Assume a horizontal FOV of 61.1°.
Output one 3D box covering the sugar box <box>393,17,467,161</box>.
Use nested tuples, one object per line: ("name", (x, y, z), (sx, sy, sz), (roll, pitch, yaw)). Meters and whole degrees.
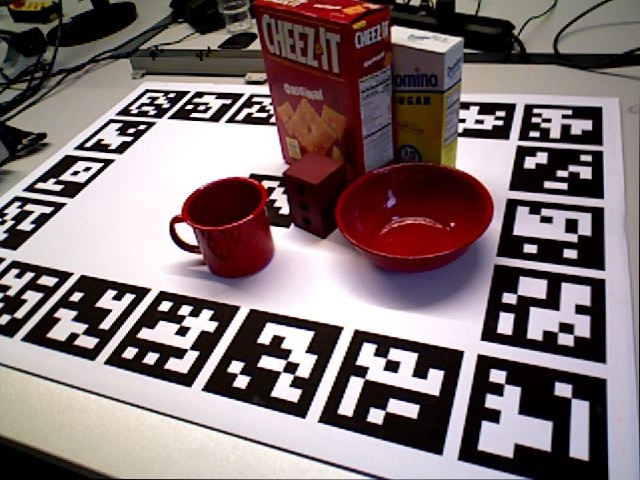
("sugar box", (0.116, -0.154, 0.621), (0.093, 0.180, 0.044), (26, 52, 36))

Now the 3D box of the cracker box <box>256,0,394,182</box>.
("cracker box", (0.007, -0.174, 0.643), (0.070, 0.218, 0.164), (-31, 45, -26))

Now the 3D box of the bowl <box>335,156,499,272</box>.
("bowl", (0.096, -0.019, 0.549), (0.161, 0.056, 0.159), (-7, 41, 5))

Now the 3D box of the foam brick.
("foam brick", (-0.005, -0.052, 0.618), (0.053, 0.079, 0.050), (21, 48, 32))

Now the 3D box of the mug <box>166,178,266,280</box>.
("mug", (-0.115, -0.012, 0.581), (0.117, 0.083, 0.091), (1, 33, 16))
